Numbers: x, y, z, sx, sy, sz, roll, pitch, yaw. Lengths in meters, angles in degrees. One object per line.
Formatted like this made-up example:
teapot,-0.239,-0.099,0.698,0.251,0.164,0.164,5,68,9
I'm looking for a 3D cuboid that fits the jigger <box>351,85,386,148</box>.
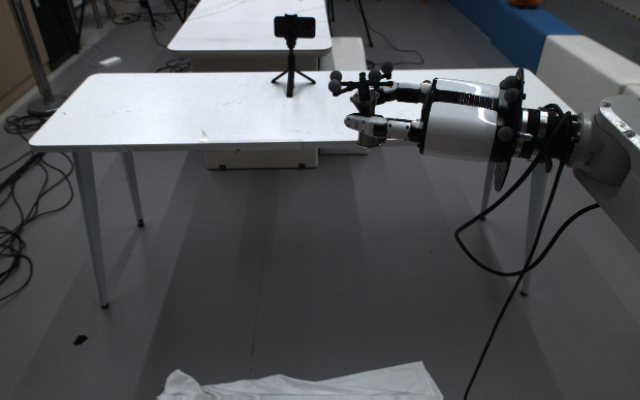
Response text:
jigger,0.067,-0.111,0.671,0.043,0.071,0.043,-10,32,6
